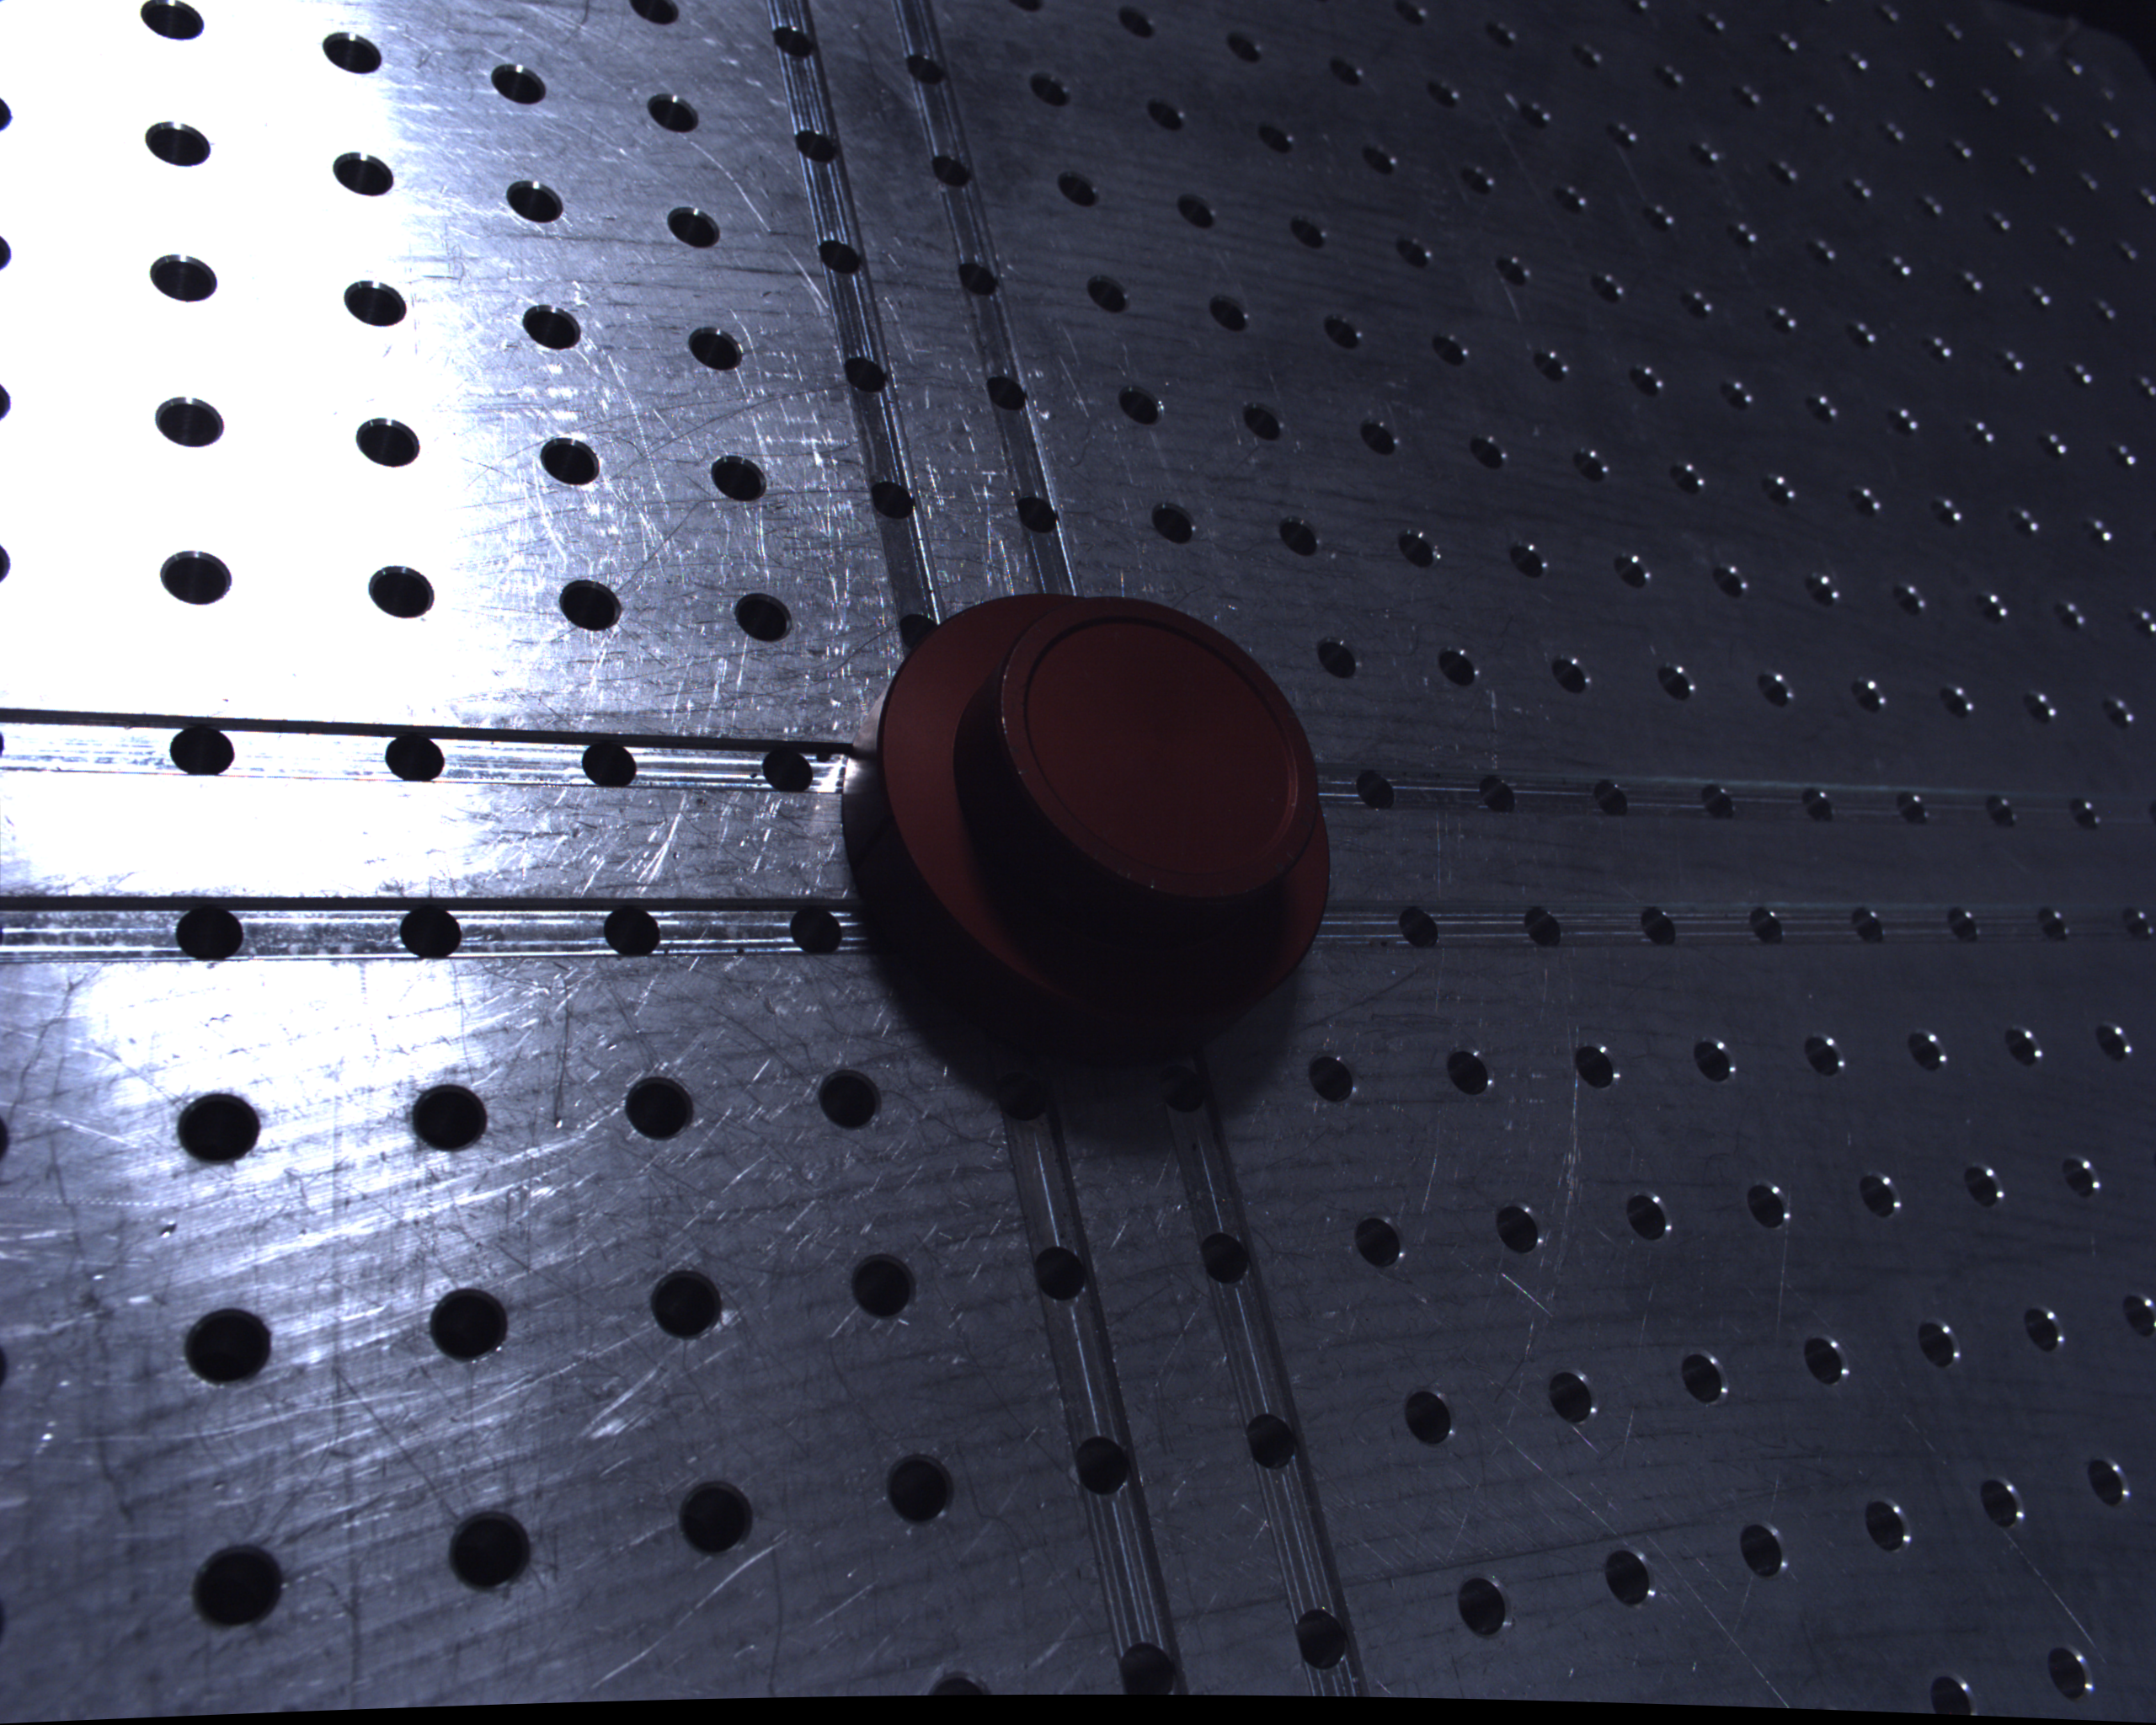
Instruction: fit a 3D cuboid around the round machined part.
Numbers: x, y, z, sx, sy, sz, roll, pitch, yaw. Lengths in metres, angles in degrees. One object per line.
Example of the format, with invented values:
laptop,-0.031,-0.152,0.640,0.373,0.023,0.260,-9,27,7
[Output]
round machined part,0.007,-0.013,0.410,0.099,0.042,0.098,14,56,-21
